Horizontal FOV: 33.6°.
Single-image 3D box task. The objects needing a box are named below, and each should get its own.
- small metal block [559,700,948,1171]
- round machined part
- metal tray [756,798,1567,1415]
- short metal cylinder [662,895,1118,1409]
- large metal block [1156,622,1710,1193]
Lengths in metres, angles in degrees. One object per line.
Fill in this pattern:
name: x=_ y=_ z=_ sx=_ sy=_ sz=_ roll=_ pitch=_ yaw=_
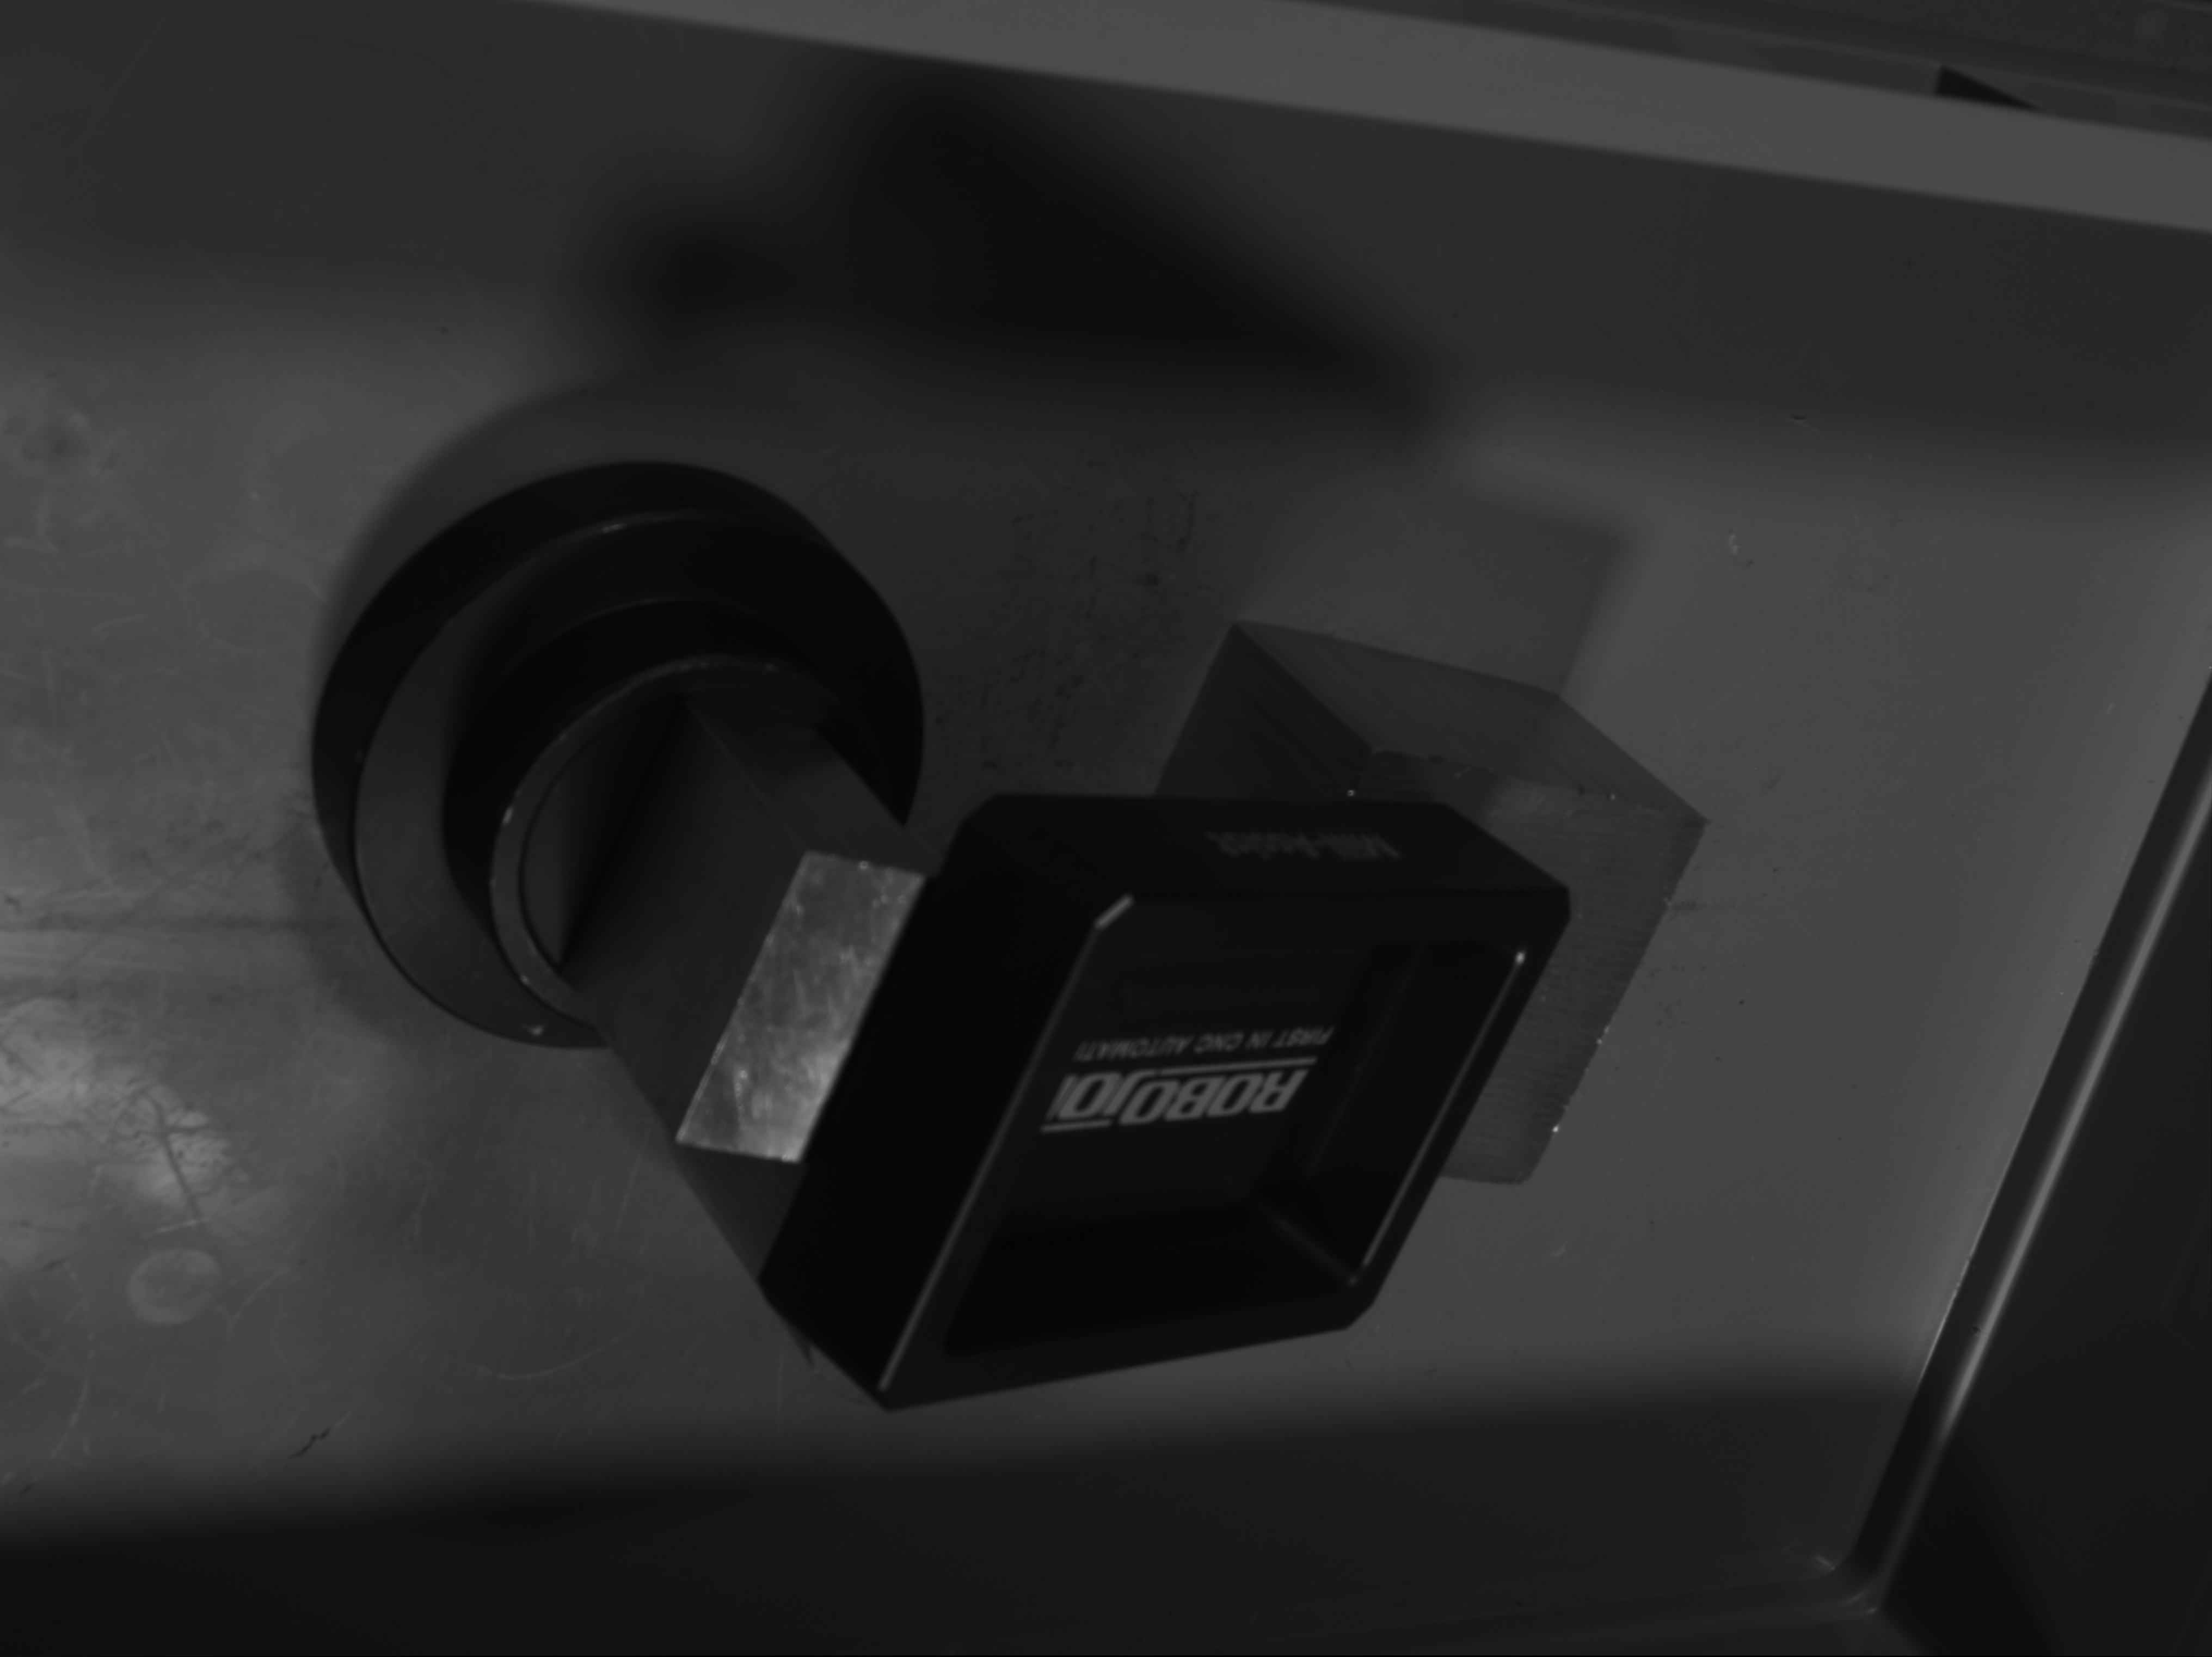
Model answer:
small metal block: x=-0.055 y=0.016 z=0.556 sx=0.025 sy=0.050 sz=0.050 roll=13 pitch=111 yaw=-35
round machined part: x=-0.075 y=-0.006 z=0.591 sx=0.098 sy=0.042 sz=0.098 roll=-15 pitch=125 yaw=-22
metal tray: x=0.012 y=0.042 z=0.587 sx=0.130 sy=0.030 sz=0.090 roll=0 pitch=120 yaw=-52
short metal cylinder: x=-0.030 y=0.054 z=0.634 sx=0.080 sy=0.050 sz=0.080 roll=-27 pitch=145 yaw=-20
large metal block: x=0.050 y=0.016 z=0.671 sx=0.080 sy=0.050 sz=0.080 roll=11 pitch=112 yaw=-35
